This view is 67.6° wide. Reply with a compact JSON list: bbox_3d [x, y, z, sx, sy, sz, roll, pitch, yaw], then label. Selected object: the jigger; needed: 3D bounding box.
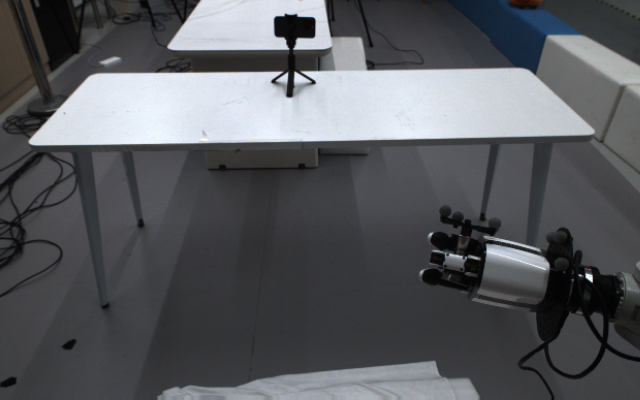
[{"bbox_3d":[0.205,0.086,0.705,0.043,0.071,0.043,16,-7,2],"label":"jigger"}]
